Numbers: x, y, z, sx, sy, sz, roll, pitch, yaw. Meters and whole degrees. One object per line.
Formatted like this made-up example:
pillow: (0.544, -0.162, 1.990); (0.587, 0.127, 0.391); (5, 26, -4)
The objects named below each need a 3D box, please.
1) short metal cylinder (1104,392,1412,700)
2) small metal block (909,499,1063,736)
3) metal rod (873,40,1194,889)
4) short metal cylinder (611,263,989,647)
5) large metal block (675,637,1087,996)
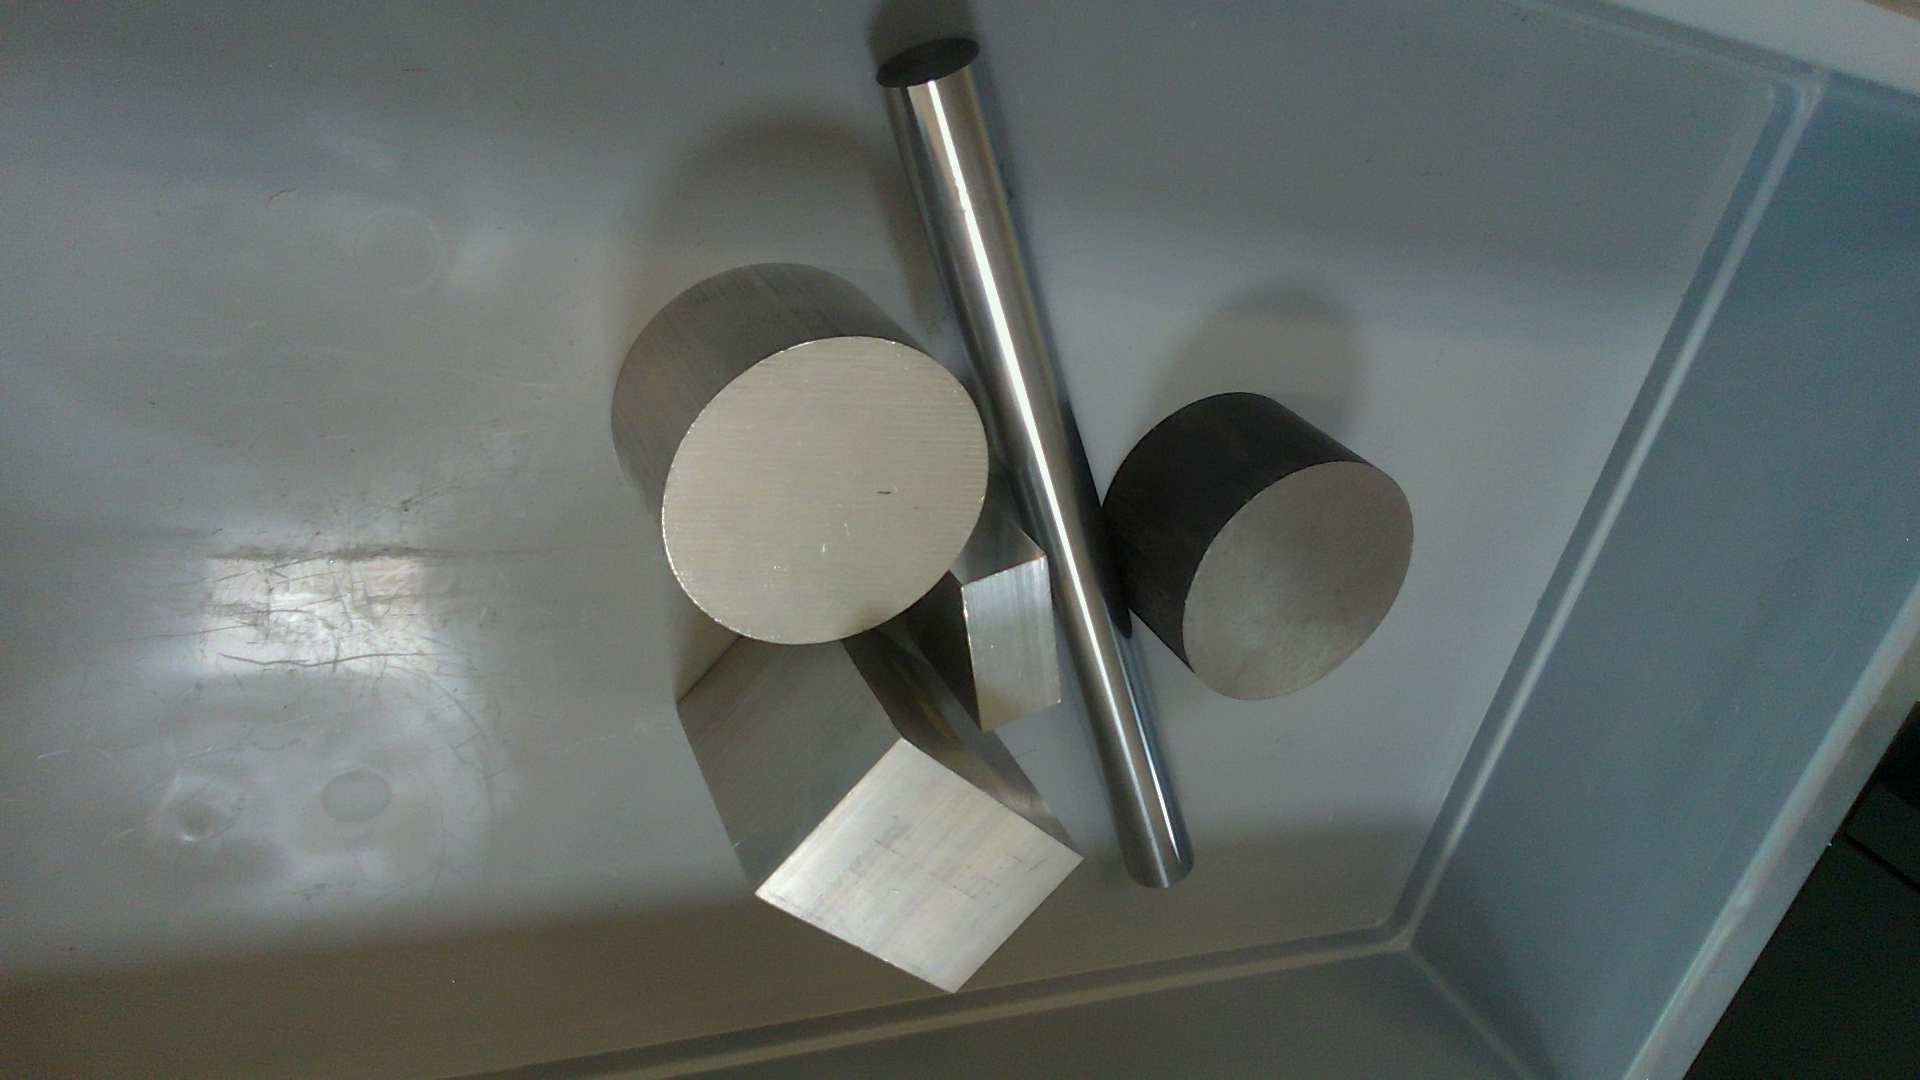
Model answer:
short metal cylinder: (0.089, 0.001, 0.421); (0.080, 0.050, 0.080); (-14, 124, -21)
small metal block: (0.004, 0.017, 0.384); (0.025, 0.050, 0.050); (-20, 126, -17)
metal rod: (0.032, 0.003, 0.407); (0.025, 0.025, 0.300); (-28, 128, -11)
short metal cylinder: (-0.040, -0.021, 0.337); (0.080, 0.050, 0.080); (-14, 124, -21)
large metal block: (-0.023, 0.067, 0.380); (0.050, 0.080, 0.080); (-47, 128, 5)
